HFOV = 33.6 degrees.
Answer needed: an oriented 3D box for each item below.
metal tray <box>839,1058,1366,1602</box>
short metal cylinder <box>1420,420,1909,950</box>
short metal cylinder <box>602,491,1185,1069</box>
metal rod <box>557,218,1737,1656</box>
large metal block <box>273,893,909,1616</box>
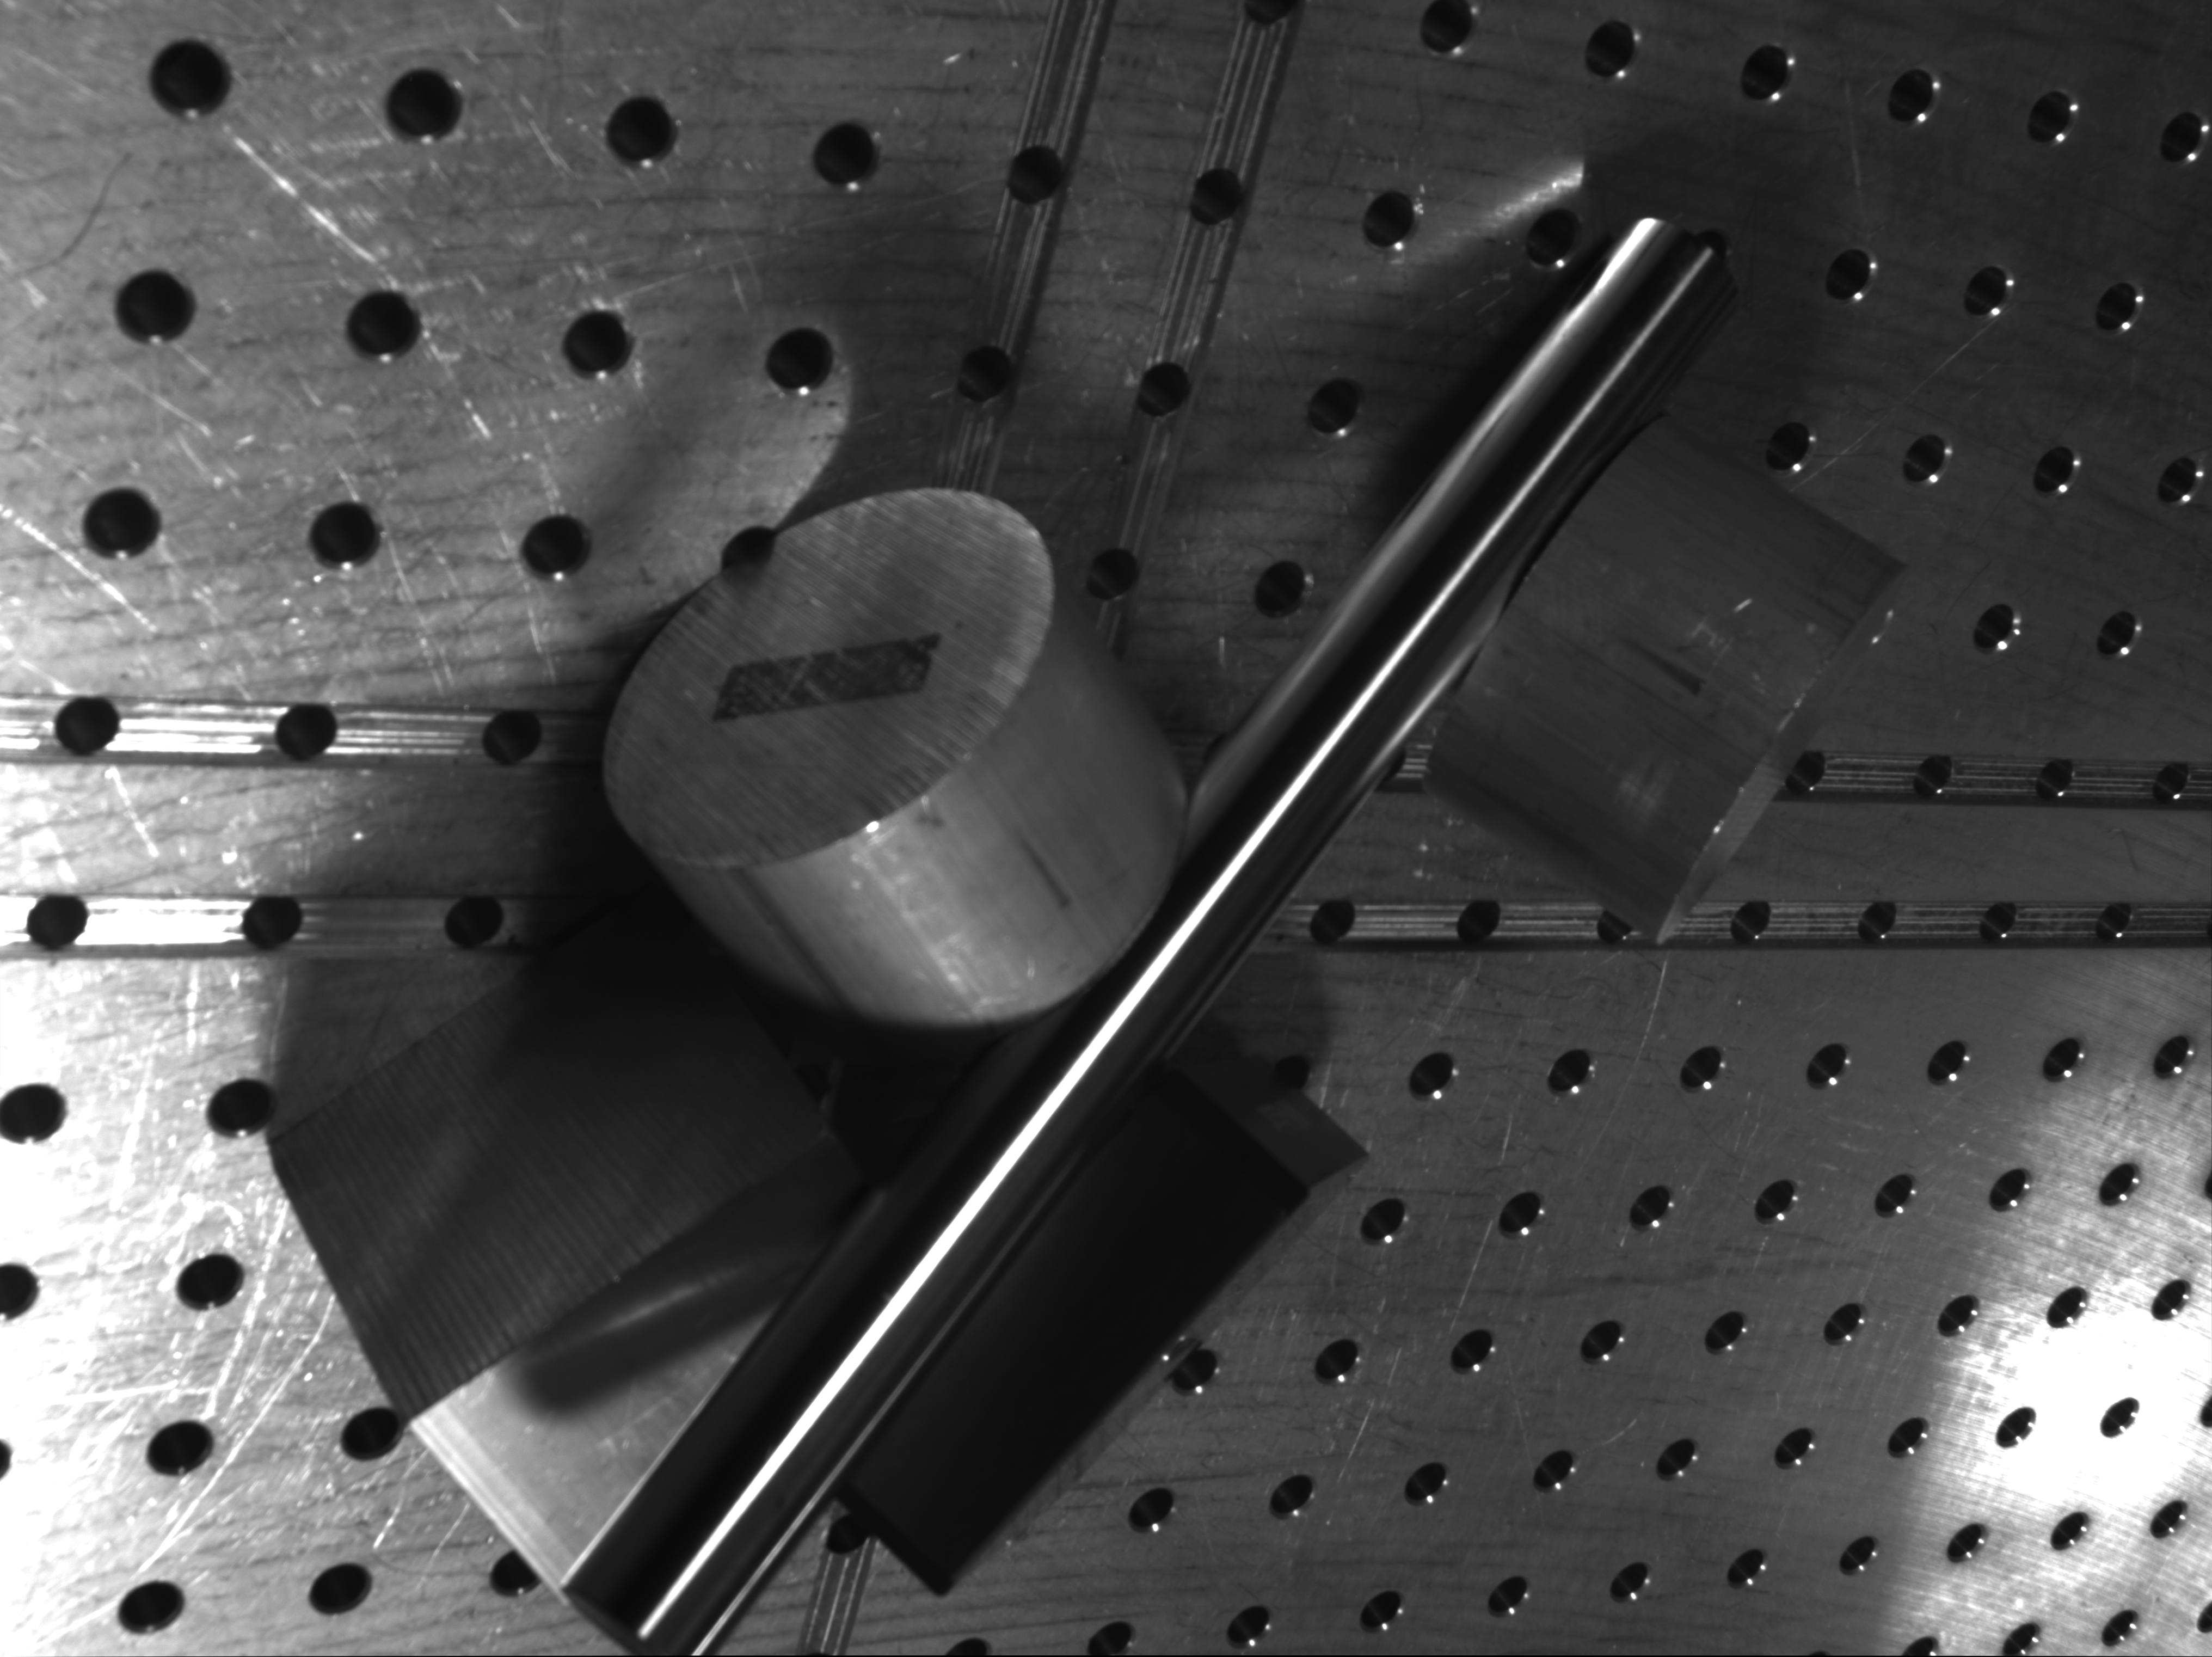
[{"bbox_3d":[0.002,0.085,0.652,0.090,0.030,0.130,-48,172,4],"label":"metal tray"},{"bbox_3d":[0.100,-0.026,0.654,0.080,0.050,0.080,-52,167,-16],"label":"short metal cylinder"},{"bbox_3d":[-0.034,-0.008,0.593,0.080,0.080,0.050,-37,130,-5],"label":"short metal cylinder"},{"bbox_3d":[0.015,0.011,0.599,0.300,0.025,0.025,-52,133,-21],"label":"metal rod"},{"bbox_3d":[-0.082,0.069,0.612,0.080,0.080,0.050,-35,130,-7],"label":"large metal block"}]
